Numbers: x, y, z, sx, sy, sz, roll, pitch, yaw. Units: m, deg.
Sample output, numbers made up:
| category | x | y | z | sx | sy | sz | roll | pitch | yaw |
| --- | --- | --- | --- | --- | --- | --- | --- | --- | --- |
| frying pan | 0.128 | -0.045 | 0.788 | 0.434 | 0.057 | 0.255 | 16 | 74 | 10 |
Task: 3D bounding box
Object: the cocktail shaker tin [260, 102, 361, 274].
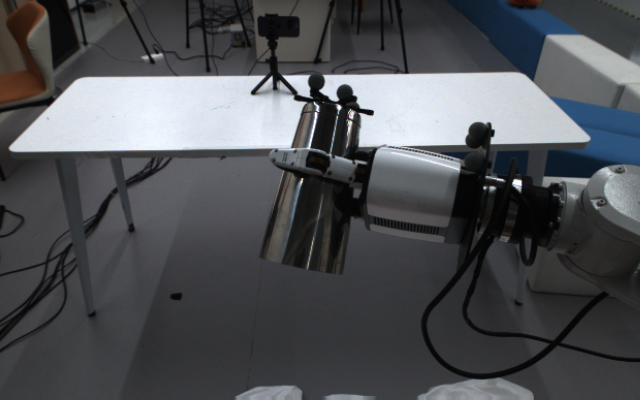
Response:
| category | x | y | z | sx | sy | sz | roll | pitch | yaw |
| --- | --- | --- | --- | --- | --- | --- | --- | --- | --- |
| cocktail shaker tin | -0.002 | -0.013 | 0.522 | 0.093 | 0.170 | 0.093 | 12 | -5 | 1 |
